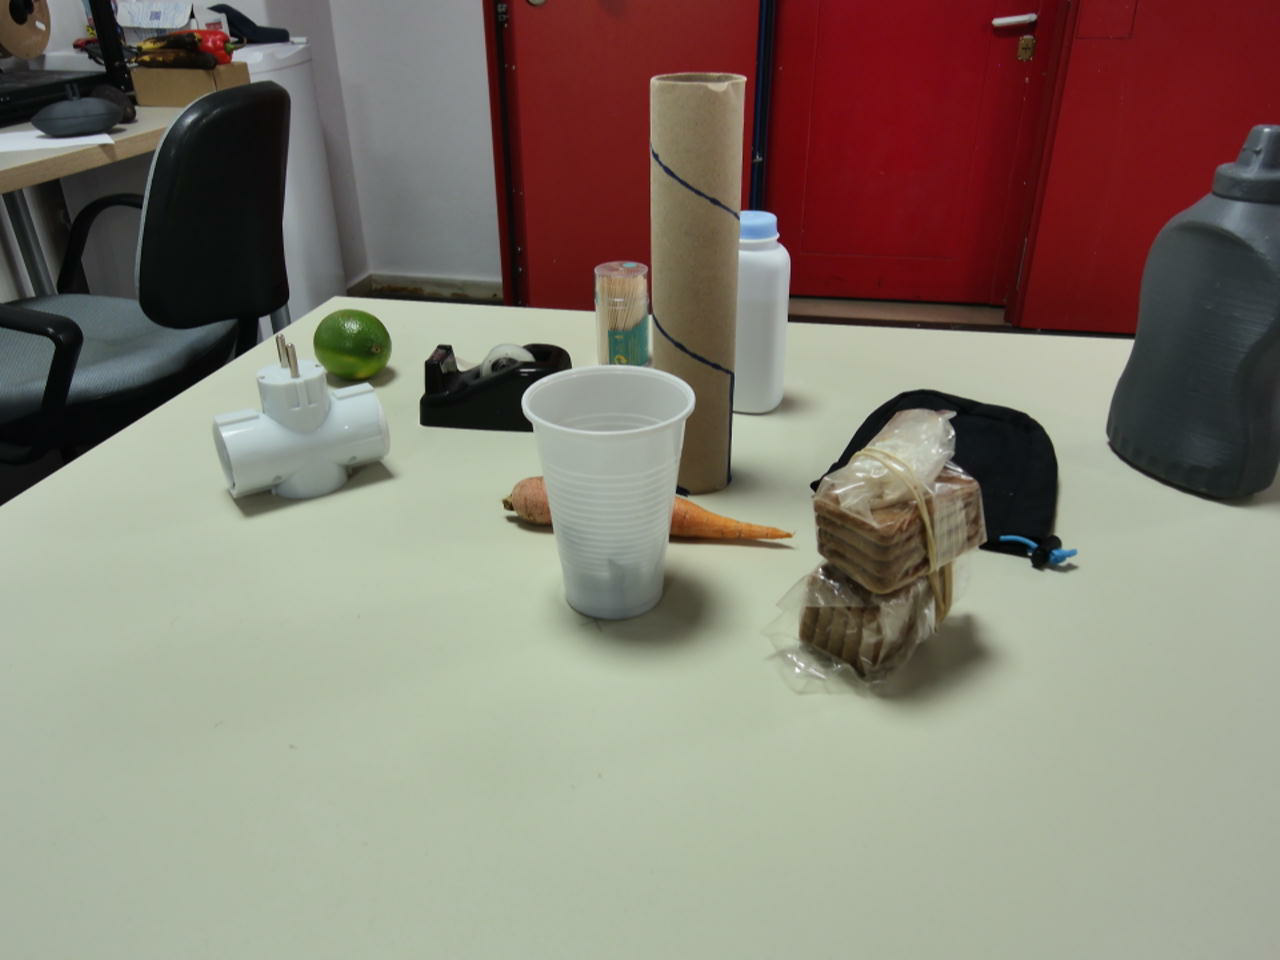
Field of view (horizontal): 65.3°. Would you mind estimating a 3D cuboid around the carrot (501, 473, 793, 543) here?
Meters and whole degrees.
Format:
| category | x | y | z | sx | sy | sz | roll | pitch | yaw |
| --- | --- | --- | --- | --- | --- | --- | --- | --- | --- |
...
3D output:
| category | x | y | z | sx | sy | sz | roll | pitch | yaw |
| --- | --- | --- | --- | --- | --- | --- | --- | --- | --- |
| carrot | 0.003 | 0.016 | 0.551 | 0.163 | 0.029 | 0.031 | 5 | 26 | 11 |
